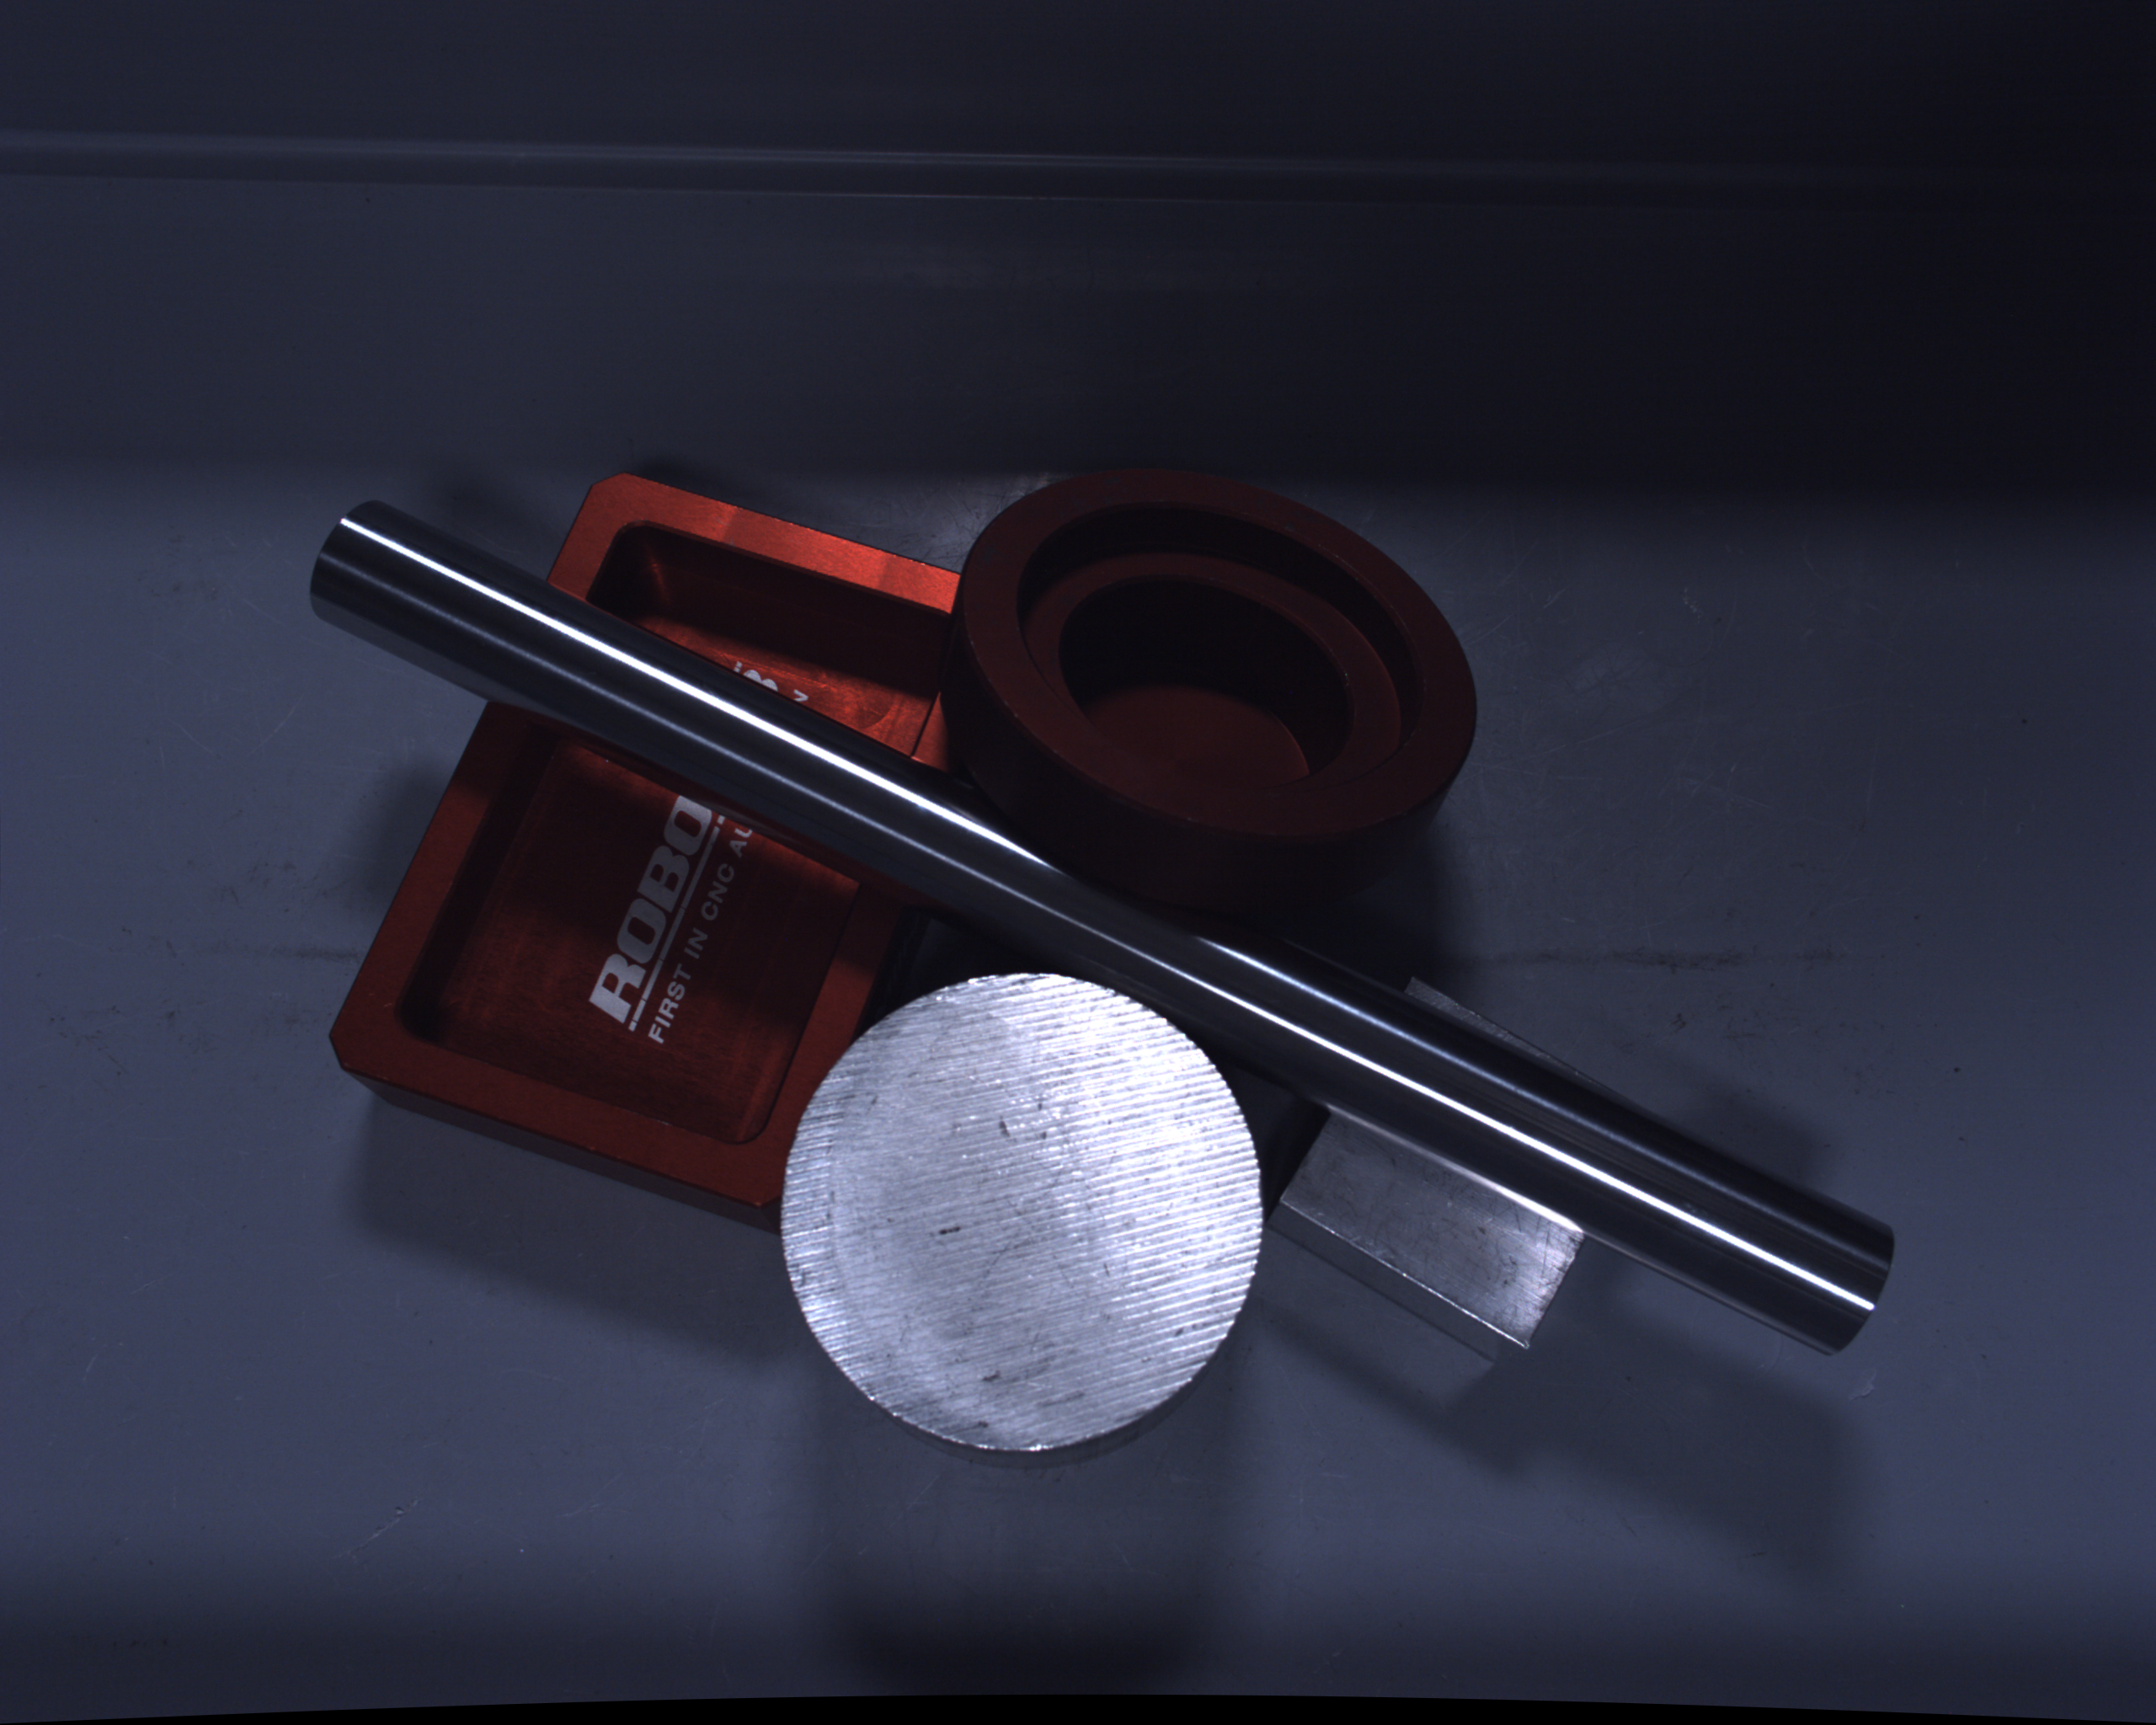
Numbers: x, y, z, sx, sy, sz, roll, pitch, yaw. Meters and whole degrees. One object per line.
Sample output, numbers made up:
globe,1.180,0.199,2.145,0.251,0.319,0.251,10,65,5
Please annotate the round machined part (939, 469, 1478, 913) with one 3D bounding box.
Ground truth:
round machined part,0.022,-0.028,0.396,0.099,0.042,0.098,9,47,-10

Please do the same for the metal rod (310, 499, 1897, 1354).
metal rod,-0.001,0.008,0.374,0.301,0.025,0.025,26,72,6

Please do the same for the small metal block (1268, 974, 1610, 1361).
small metal block,0.070,0.057,0.388,0.050,0.025,0.050,30,72,10

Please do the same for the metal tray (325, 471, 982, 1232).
metal tray,-0.074,-0.004,0.405,0.090,0.030,0.130,18,71,6

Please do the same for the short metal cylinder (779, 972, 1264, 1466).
short metal cylinder,-0.009,0.065,0.370,0.081,0.050,0.080,0,70,0
